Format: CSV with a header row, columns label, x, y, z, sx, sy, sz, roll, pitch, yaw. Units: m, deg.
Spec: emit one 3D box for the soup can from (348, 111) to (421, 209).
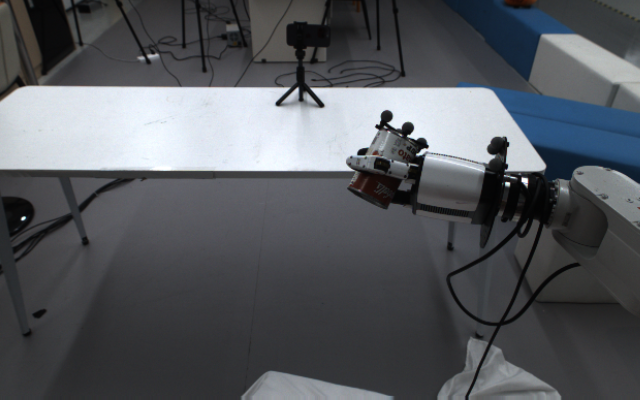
label,x,y,z,sx,sy,sz,roll,pitch,yaw
soup can,0.093,-0.047,0.712,0.067,0.101,0.067,29,-2,1
